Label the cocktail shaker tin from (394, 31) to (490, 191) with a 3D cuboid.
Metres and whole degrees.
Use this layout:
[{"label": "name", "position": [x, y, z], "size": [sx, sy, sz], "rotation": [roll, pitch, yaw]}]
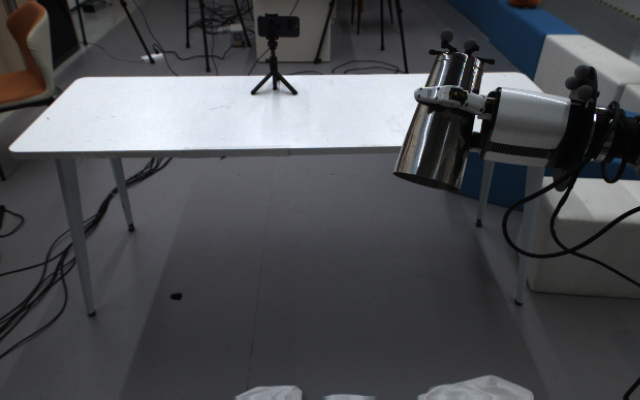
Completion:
[{"label": "cocktail shaker tin", "position": [0.168, -0.106, 0.654], "size": [0.093, 0.170, 0.093], "rotation": [16, -2, 1]}]
